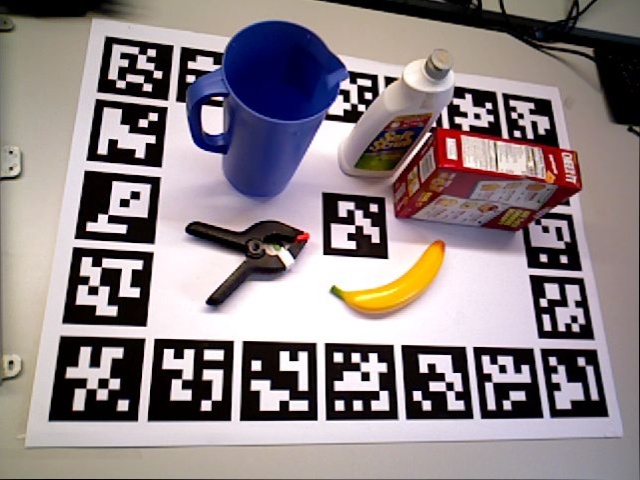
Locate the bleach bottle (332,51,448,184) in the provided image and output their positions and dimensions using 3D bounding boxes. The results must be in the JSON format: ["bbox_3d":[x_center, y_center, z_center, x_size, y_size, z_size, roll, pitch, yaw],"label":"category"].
[{"bbox_3d":[0.097,-0.166,0.745,0.101,0.256,0.067,3,66,-13],"label":"bleach bottle"}]

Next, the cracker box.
[{"bbox_3d":[0.242,-0.079,0.777,0.211,0.167,0.071,4,64,-11],"label":"cracker box"}]

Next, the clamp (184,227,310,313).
[{"bbox_3d":[-0.091,0.025,0.741,0.162,0.037,0.121,-13,71,-20],"label":"clamp"}]

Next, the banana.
[{"bbox_3d":[0.121,0.062,0.787,0.194,0.039,0.074,-32,79,-22],"label":"banana"}]

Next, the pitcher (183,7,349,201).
[{"bbox_3d":[-0.078,-0.146,0.673,0.185,0.248,0.133,-15,72,-22],"label":"pitcher"}]
